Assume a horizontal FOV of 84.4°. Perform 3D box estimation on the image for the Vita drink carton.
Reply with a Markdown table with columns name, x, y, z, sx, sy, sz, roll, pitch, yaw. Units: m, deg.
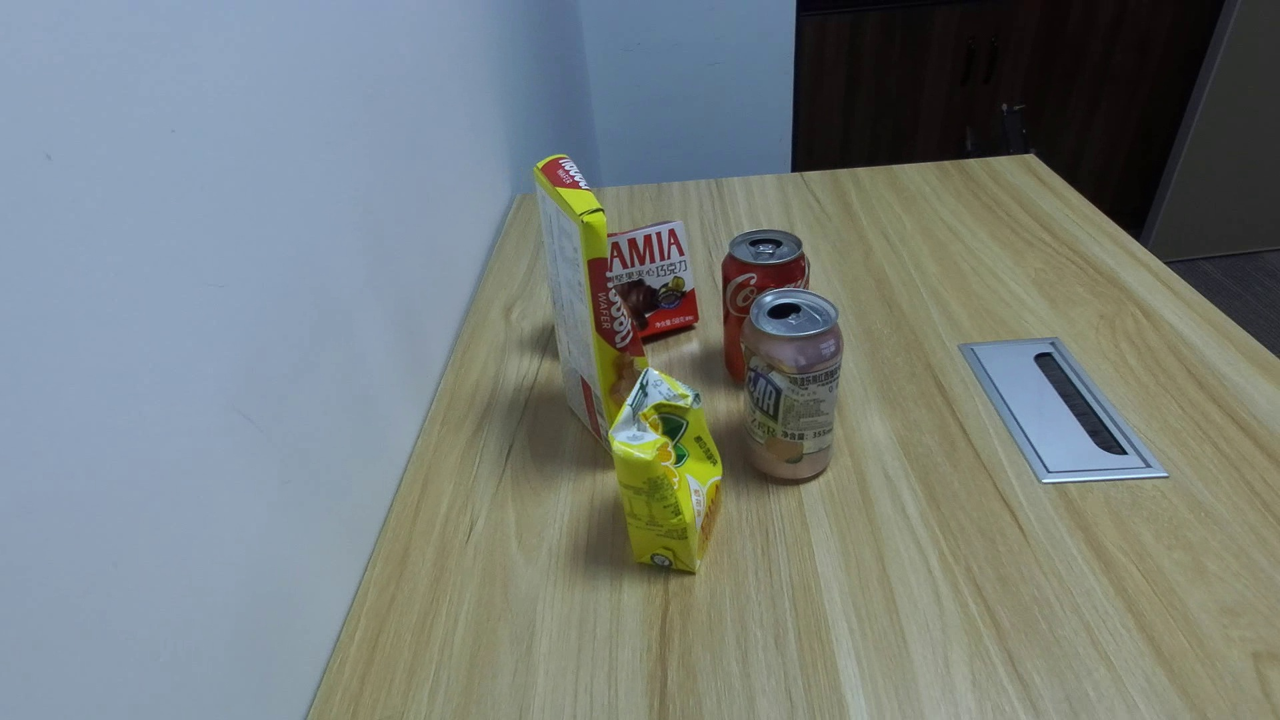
| name | x | y | z | sx | sy | sz | roll | pitch | yaw |
| --- | --- | --- | --- | --- | --- | --- | --- | --- | --- |
| Vita drink carton | 0.020 | 0.068 | 0.428 | 0.046 | 0.110 | 0.071 | 6 | 39 | 21 |

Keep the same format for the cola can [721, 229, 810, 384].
| name | x | y | z | sx | sy | sz | roll | pitch | yaw |
| --- | --- | --- | --- | --- | --- | --- | --- | --- | --- |
| cola can | 0.098 | -0.039 | 0.555 | 0.068 | 0.120 | 0.067 | -4 | 34 | 3 |

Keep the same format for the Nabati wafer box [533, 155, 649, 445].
| name | x | y | z | sx | sy | sz | roll | pitch | yaw |
| --- | --- | --- | --- | --- | --- | --- | --- | --- | --- |
| Nabati wafer box | -0.027 | -0.029 | 0.486 | 0.043 | 0.205 | 0.113 | -24 | 41 | -17 |

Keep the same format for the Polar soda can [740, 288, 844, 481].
| name | x | y | z | sx | sy | sz | roll | pitch | yaw |
| --- | --- | --- | --- | --- | --- | --- | --- | --- | --- |
| Polar soda can | 0.101 | 0.018 | 0.475 | 0.067 | 0.122 | 0.074 | 9 | 39 | 19 |

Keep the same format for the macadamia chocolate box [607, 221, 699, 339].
| name | x | y | z | sx | sy | sz | roll | pitch | yaw |
| --- | --- | --- | --- | --- | --- | --- | --- | --- | --- |
| macadamia chocolate box | -0.015 | -0.069 | 0.618 | 0.127 | 0.112 | 0.056 | -16 | 36 | -13 |
